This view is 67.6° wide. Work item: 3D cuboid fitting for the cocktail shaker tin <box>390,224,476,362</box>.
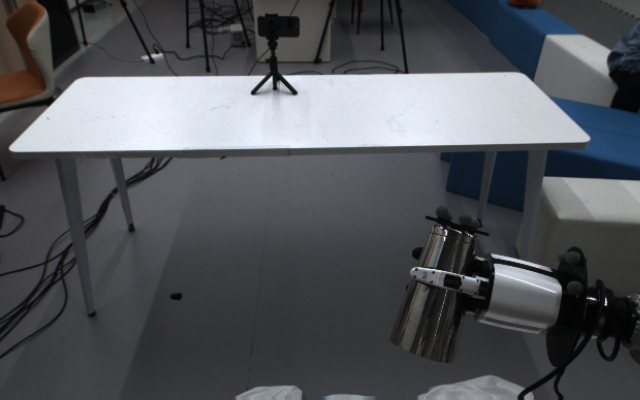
[{"bbox_3d":[0.167,0.125,0.672,0.093,0.170,0.093,16,-2,1],"label":"cocktail shaker tin"}]
